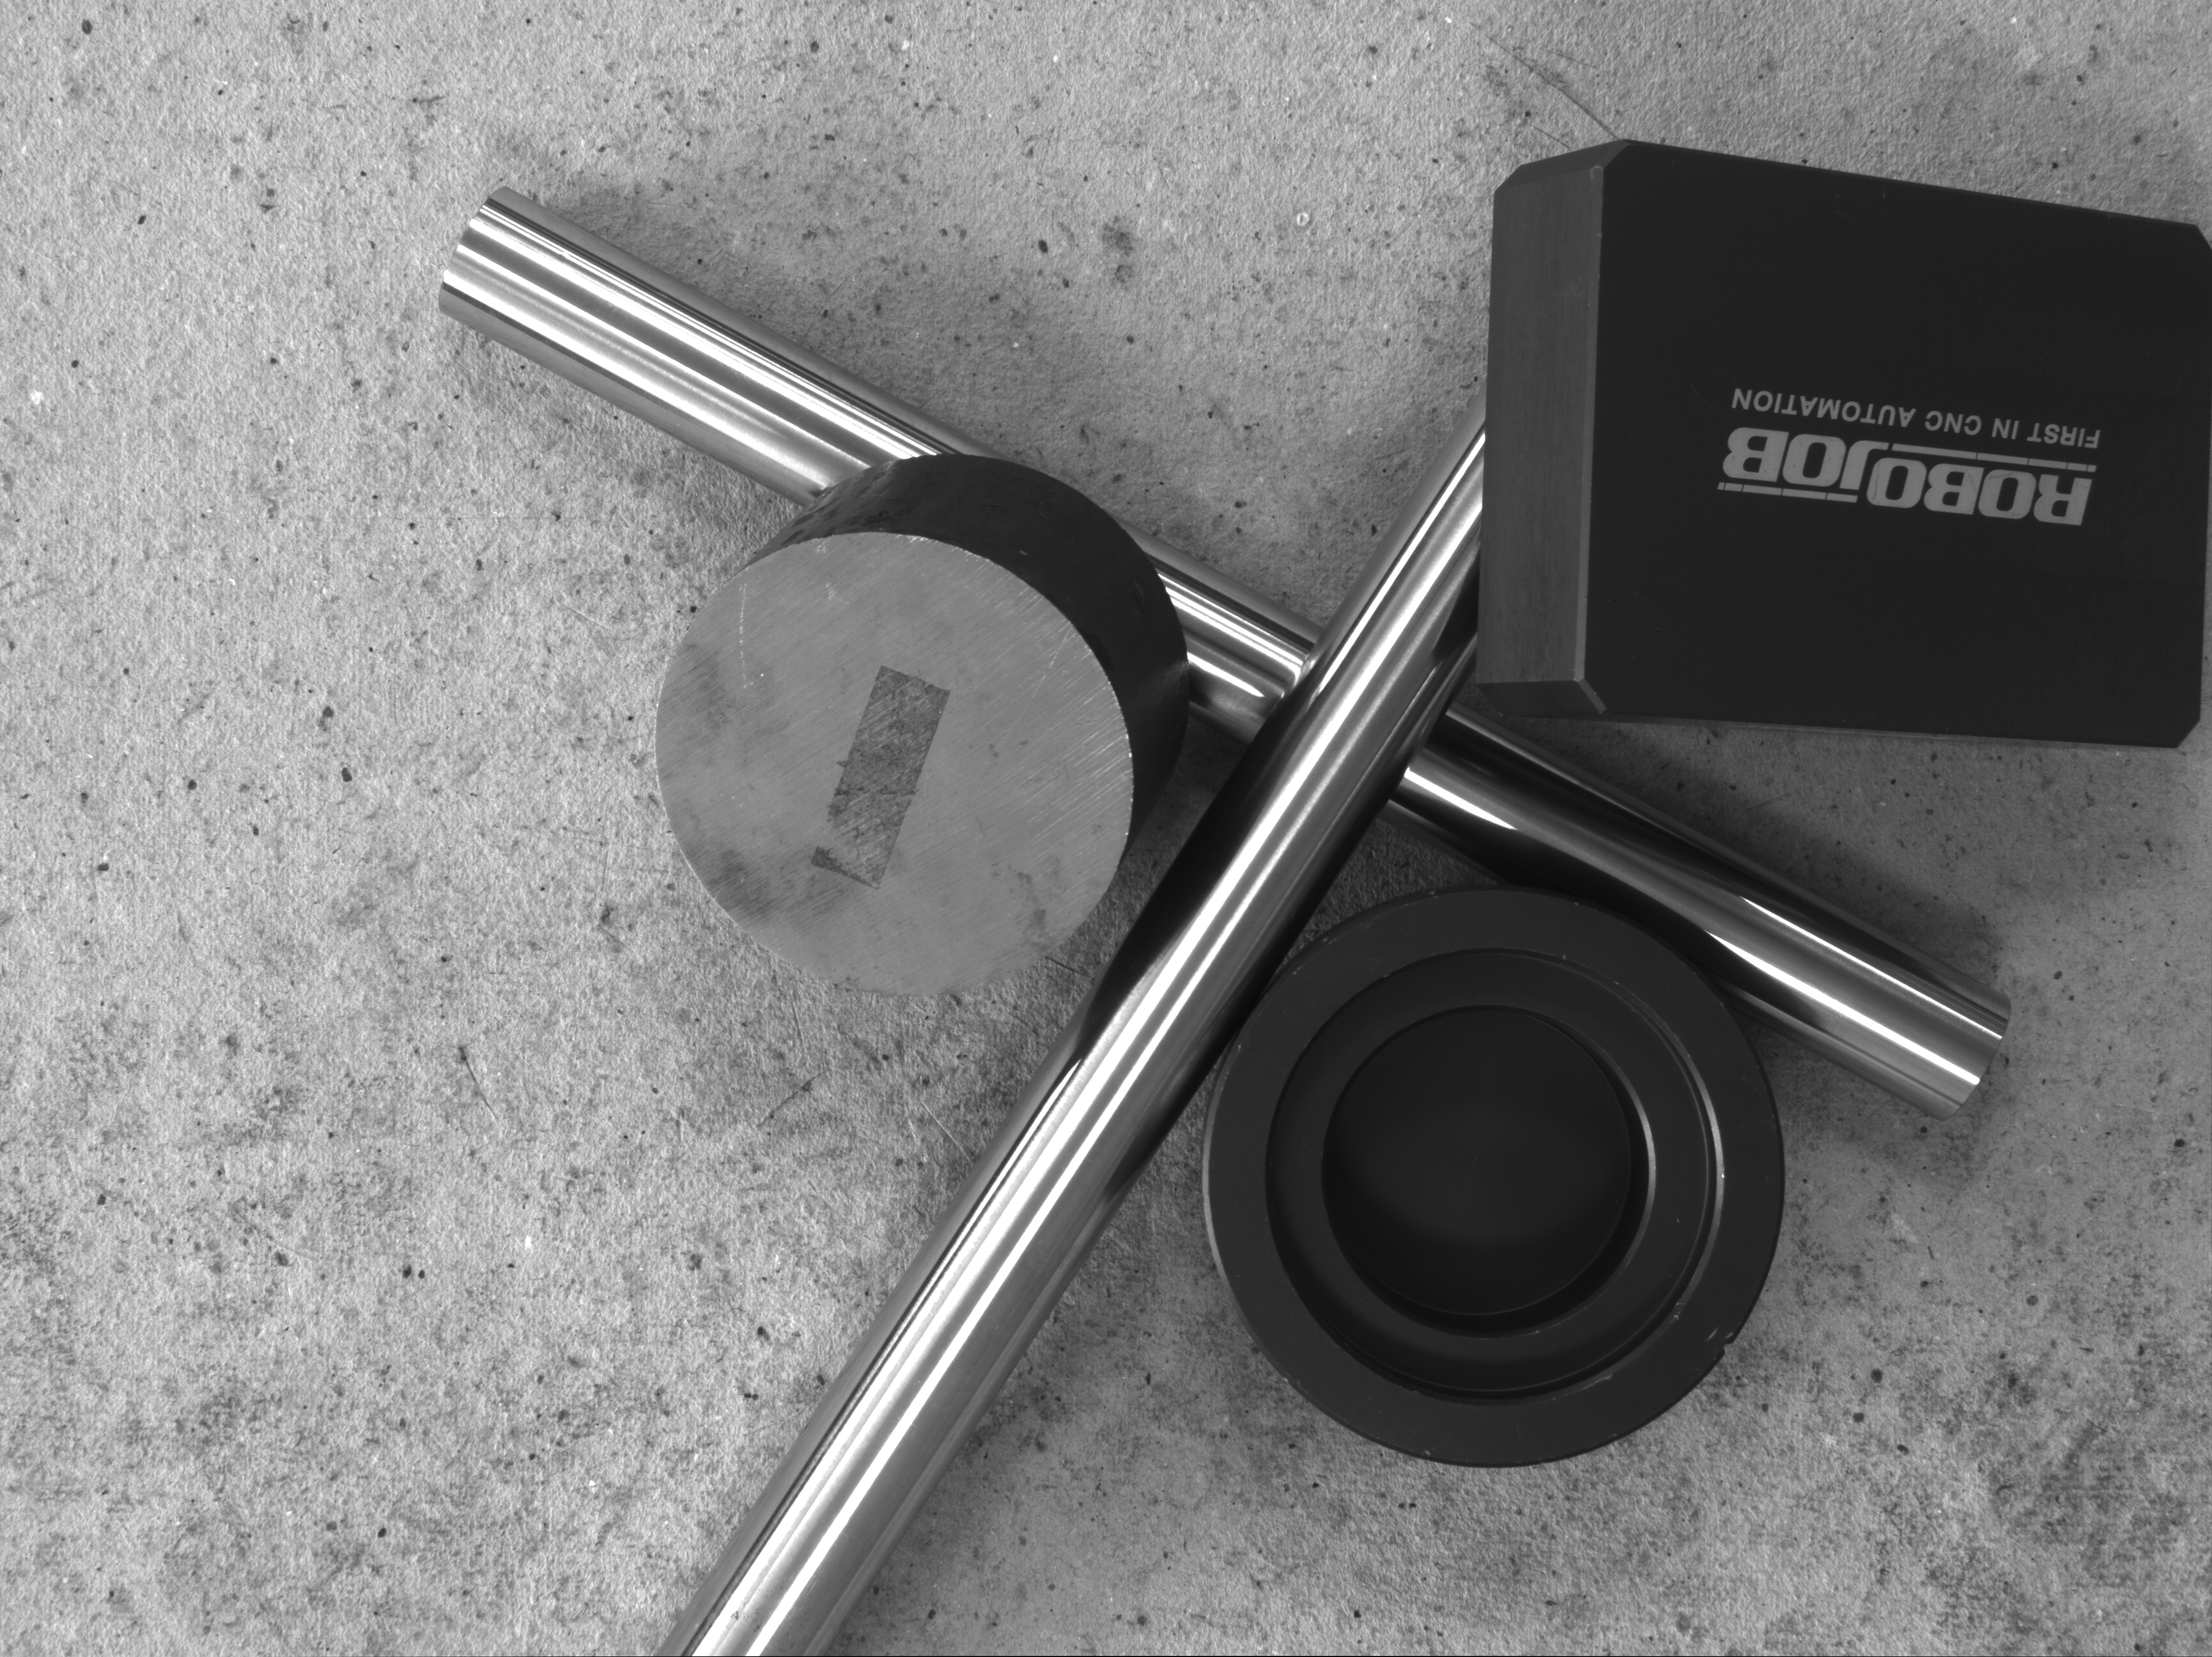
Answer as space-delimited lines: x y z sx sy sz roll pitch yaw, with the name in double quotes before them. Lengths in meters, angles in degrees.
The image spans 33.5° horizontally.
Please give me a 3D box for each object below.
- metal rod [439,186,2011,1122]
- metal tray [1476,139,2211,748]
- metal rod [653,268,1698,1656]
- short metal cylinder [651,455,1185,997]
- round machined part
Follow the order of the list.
"metal rod" 0.021 -0.031 0.647 0.300 0.025 0.025 28 90 0
"metal tray" 0.126 -0.061 0.615 0.130 0.030 0.090 2 90 -28
"metal rod" 0.007 0.034 0.629 0.025 0.025 0.300 33 97 0
"short metal cylinder" -0.031 -0.018 0.621 0.080 0.050 0.080 4 111 11
"round machined part" 0.065 0.059 0.637 0.098 0.042 0.098 0 90 0
